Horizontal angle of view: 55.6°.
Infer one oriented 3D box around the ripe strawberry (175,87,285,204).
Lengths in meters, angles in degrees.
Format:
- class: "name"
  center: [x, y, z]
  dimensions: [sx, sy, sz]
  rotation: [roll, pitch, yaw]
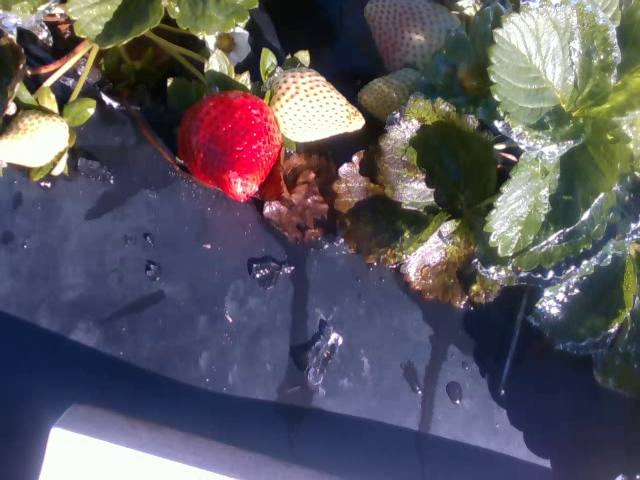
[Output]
- class: "ripe strawberry"
  center: [-0.030, -0.029, 0.204]
  dimensions: [0.040, 0.042, 0.053]
  rotation: [-19, 39, 2]
